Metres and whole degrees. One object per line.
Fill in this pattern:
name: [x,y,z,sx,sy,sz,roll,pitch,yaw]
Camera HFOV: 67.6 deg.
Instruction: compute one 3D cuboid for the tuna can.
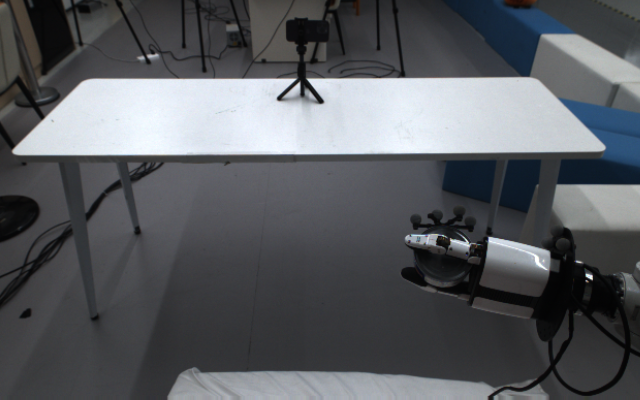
tuna can: [0.182,0.079,0.704,0.085,0.034,0.085,-4,60,8]
